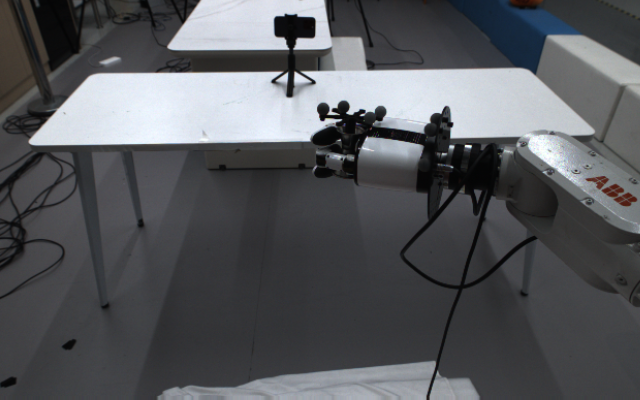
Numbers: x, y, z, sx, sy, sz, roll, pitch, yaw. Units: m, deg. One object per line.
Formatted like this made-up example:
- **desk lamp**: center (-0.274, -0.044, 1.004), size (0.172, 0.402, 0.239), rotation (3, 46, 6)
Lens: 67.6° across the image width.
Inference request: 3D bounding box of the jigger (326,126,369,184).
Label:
- **jigger**: center (0.045, -0.070, 0.706), size (0.043, 0.071, 0.043), rotation (3, 25, -1)
